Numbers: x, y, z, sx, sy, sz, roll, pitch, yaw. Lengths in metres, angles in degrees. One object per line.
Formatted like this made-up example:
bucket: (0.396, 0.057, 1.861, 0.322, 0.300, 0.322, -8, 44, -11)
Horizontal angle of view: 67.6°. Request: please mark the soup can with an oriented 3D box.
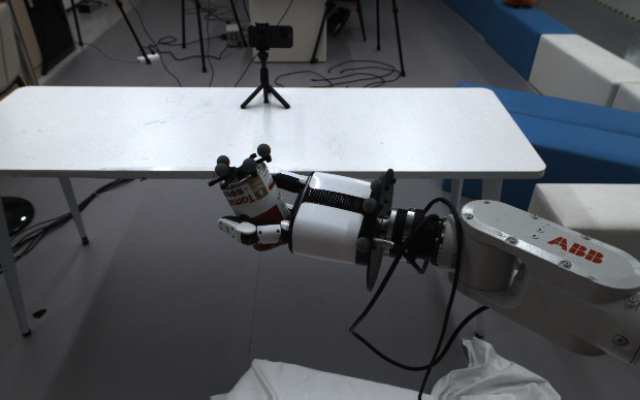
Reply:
soup can: (-0.080, 0.008, 0.646, 0.067, 0.101, 0.067, -21, 24, 10)
